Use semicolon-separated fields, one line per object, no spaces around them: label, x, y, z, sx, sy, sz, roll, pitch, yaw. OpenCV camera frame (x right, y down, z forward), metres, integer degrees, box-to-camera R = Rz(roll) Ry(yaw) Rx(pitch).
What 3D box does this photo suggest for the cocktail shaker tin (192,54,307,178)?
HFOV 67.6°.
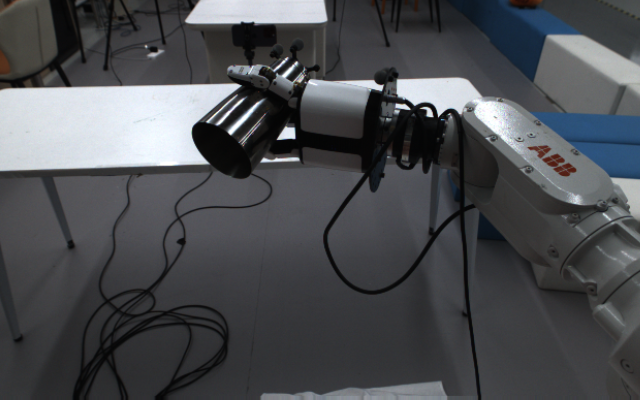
cocktail shaker tin;-0.080;-0.123;0.646;0.093;0.093;0.170;19;55;23
